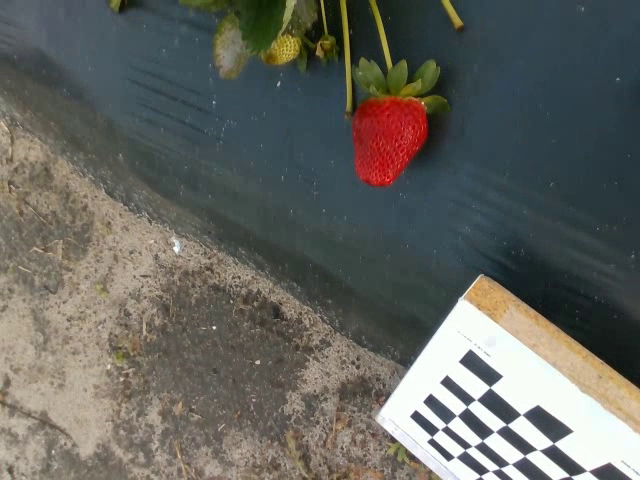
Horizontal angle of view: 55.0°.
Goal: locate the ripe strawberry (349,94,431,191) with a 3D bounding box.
[{"bbox_3d":[0.034,-0.050,0.314,0.042,0.055,0.045,28,-11,-30],"label":"ripe strawberry"}]
